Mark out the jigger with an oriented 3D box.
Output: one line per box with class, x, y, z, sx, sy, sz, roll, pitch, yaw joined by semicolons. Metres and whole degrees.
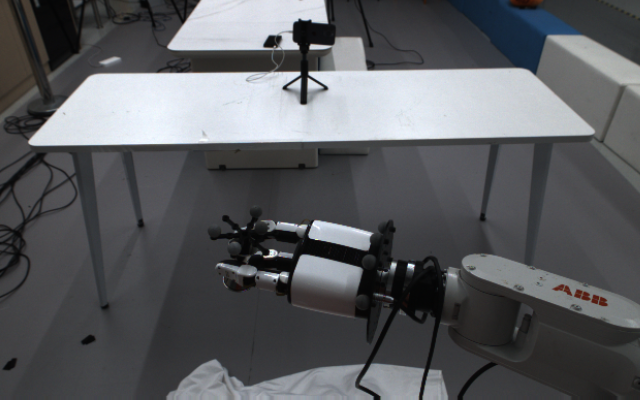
jigger;-0.107;0.085;0.657;0.043;0.071;0.043;10;36;-7
